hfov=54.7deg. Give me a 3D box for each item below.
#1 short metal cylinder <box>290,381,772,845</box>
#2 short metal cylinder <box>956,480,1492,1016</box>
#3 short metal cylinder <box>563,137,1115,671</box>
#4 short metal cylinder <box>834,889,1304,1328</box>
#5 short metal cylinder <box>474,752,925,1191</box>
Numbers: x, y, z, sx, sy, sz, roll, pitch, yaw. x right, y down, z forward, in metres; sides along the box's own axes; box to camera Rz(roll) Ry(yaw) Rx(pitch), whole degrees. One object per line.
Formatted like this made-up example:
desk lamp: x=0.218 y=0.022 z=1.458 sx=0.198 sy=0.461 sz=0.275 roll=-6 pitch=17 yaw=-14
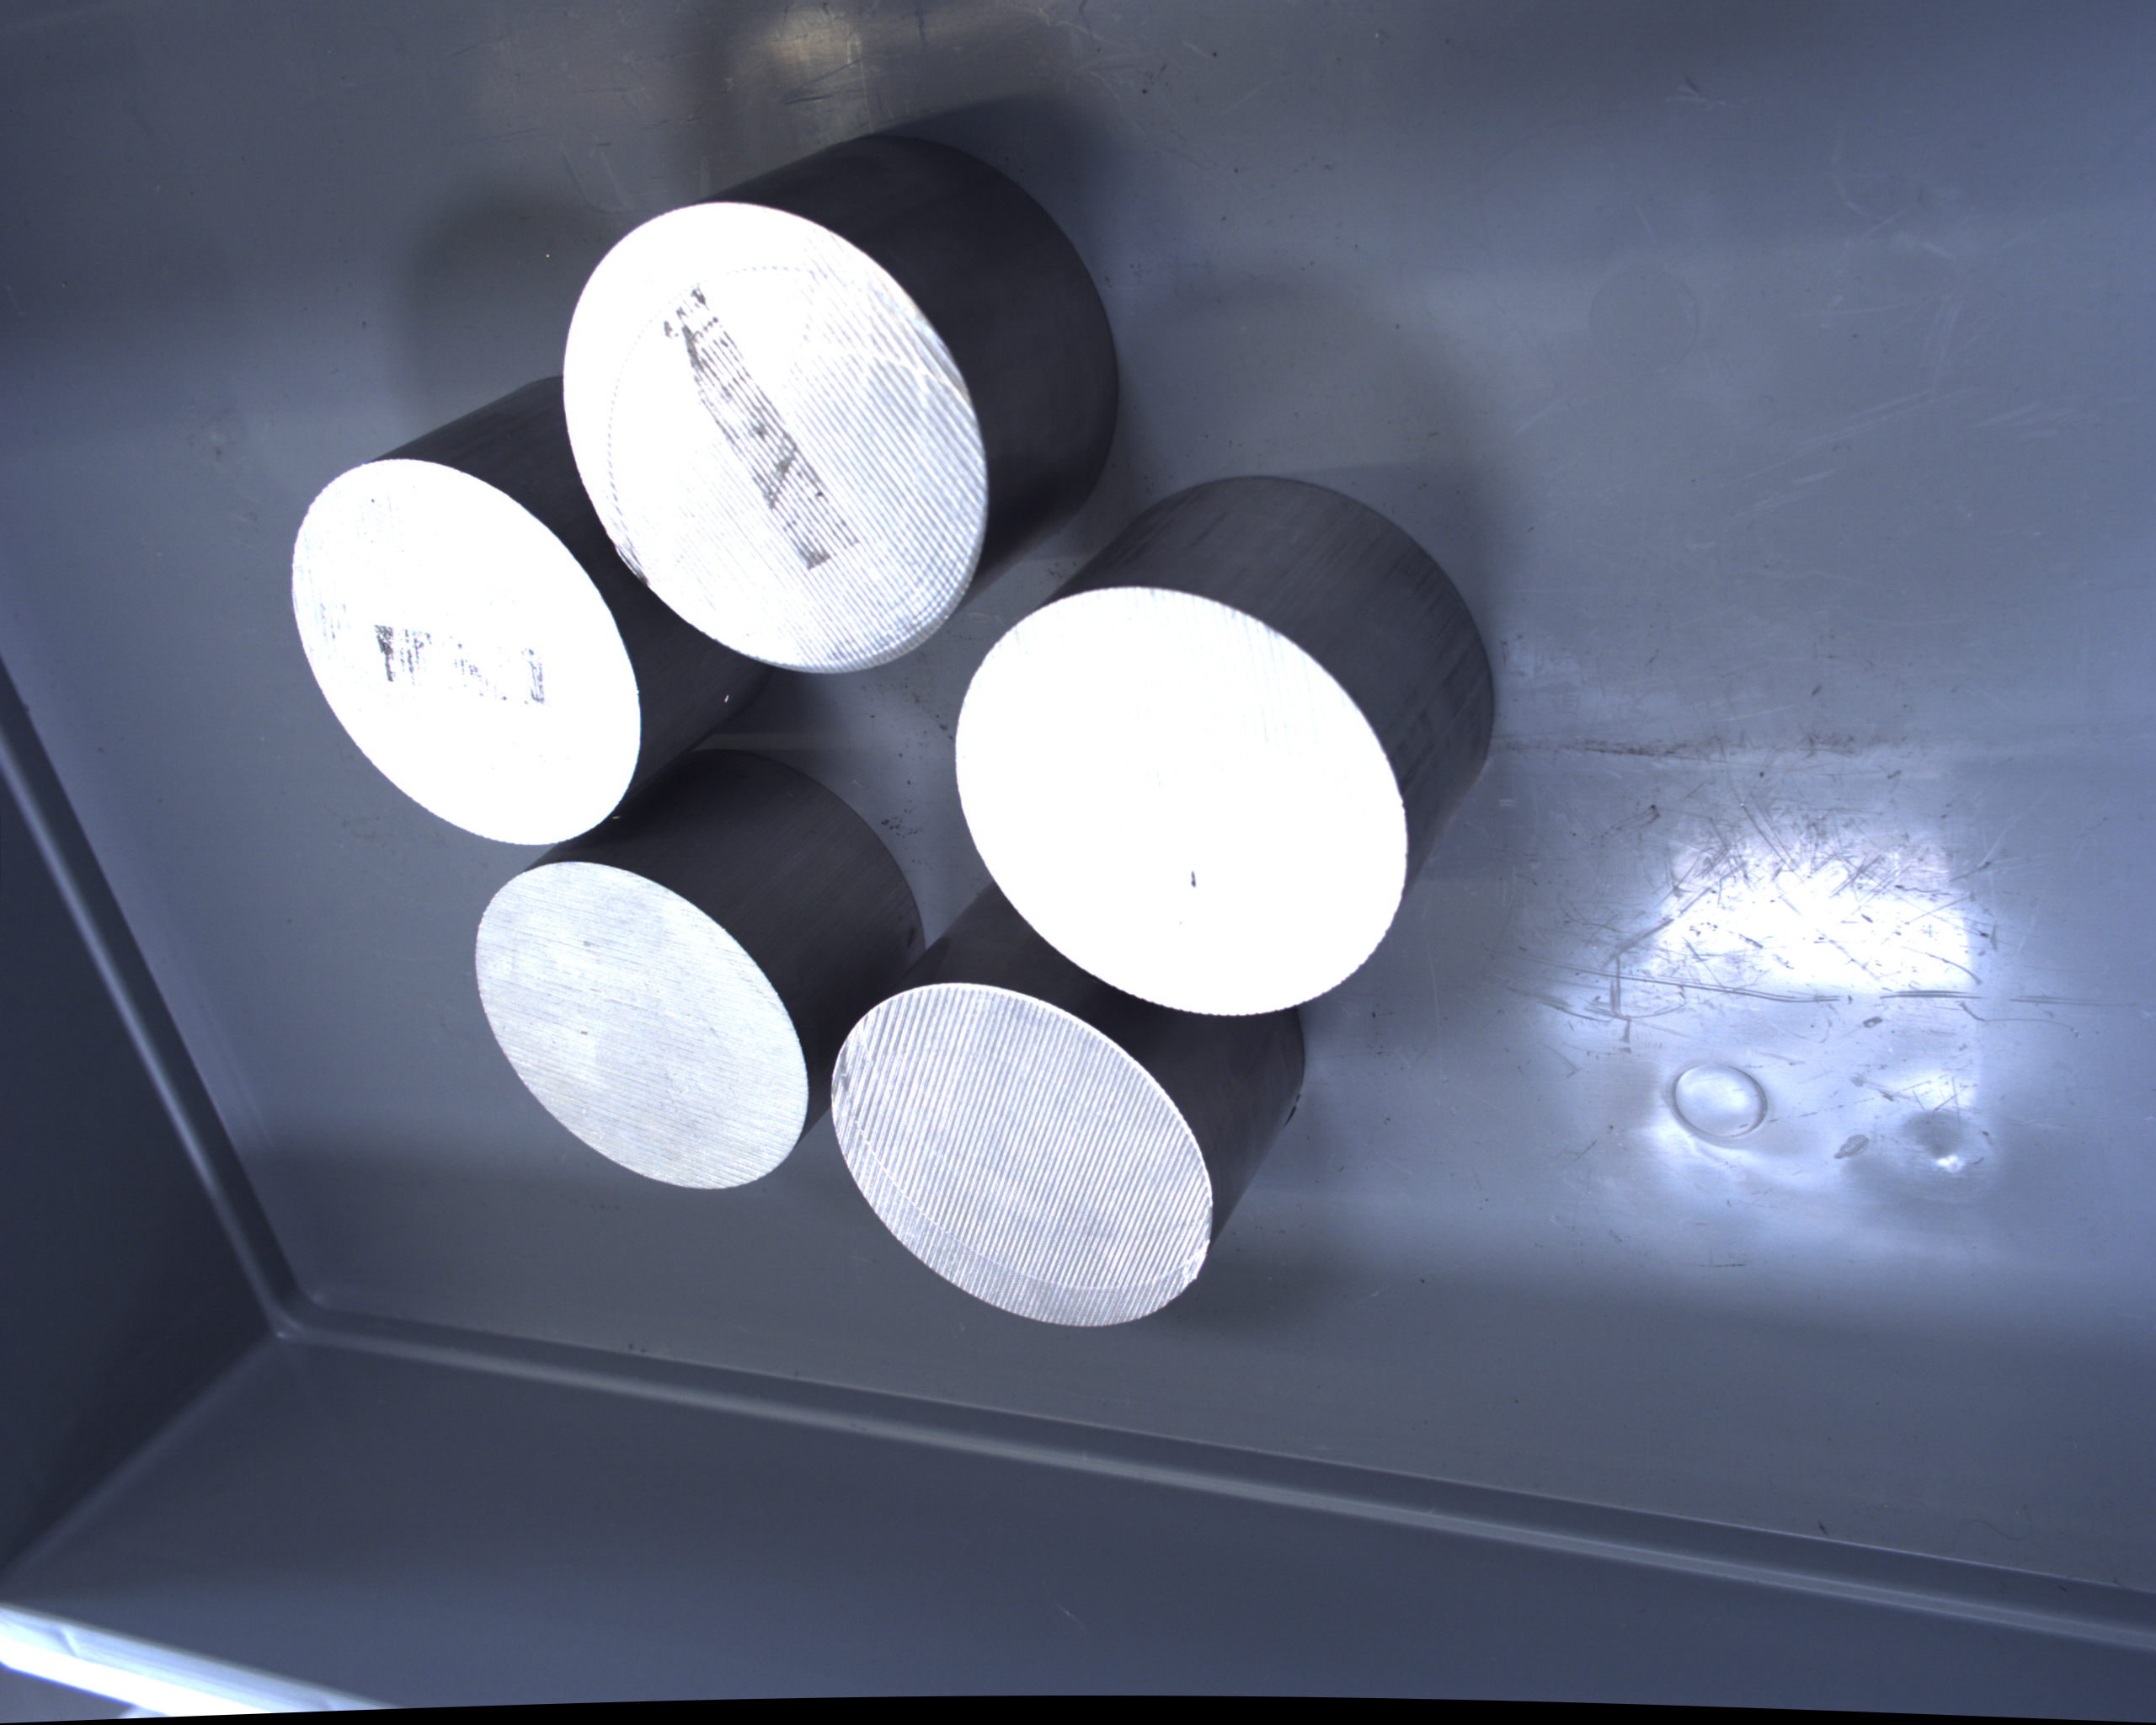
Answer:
short metal cylinder: x=-0.107 y=-0.050 z=0.415 sx=0.080 sy=0.050 sz=0.079 roll=13 pitch=124 yaw=21
short metal cylinder: x=0.026 y=-0.020 z=0.364 sx=0.080 sy=0.050 sz=0.079 roll=13 pitch=124 yaw=21
short metal cylinder: x=-0.041 y=-0.080 z=0.362 sx=0.080 sy=0.050 sz=0.079 roll=13 pitch=124 yaw=21
short metal cylinder: x=-0.001 y=0.046 z=0.419 sx=0.080 sy=0.050 sz=0.079 roll=13 pitch=124 yaw=21
short metal cylinder: x=-0.080 y=0.023 z=0.446 sx=0.080 sy=0.050 sz=0.079 roll=13 pitch=124 yaw=21
